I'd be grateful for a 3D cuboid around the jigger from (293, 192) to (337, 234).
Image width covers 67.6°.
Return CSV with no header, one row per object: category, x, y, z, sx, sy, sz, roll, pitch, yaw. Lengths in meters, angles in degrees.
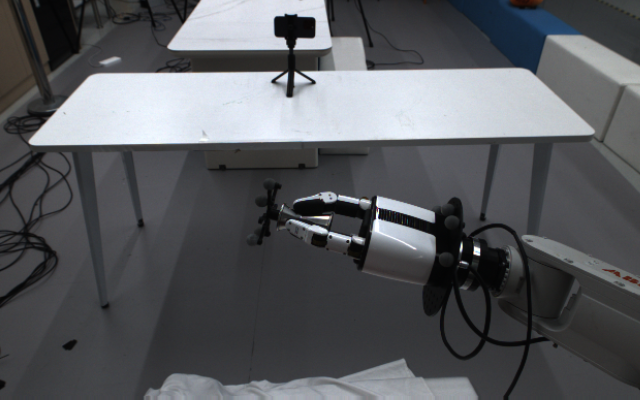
jigger,-0.013,0.028,0.646,0.071,0.043,0.043,14,36,4
